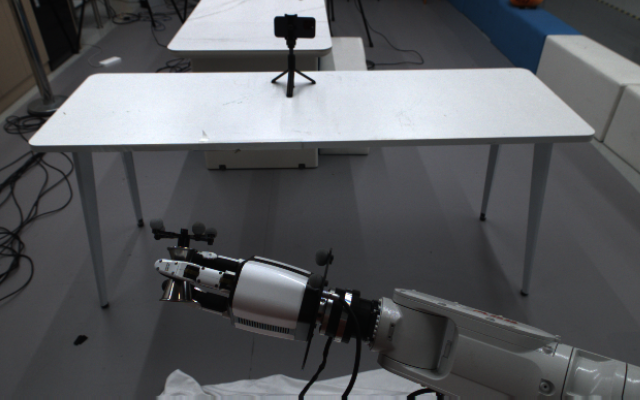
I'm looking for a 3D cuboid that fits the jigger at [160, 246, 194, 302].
[{"bbox_3d":[-0.182,0.097,0.627,0.043,0.043,0.071,3,77,1],"label":"jigger"}]
